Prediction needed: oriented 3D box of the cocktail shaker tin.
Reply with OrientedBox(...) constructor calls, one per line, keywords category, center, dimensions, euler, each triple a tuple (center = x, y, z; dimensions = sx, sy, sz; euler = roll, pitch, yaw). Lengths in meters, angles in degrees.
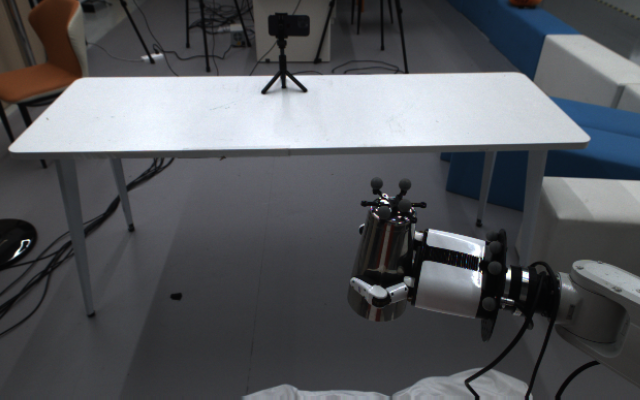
OrientedBox(category="cocktail shaker tin", center=(0.096, 0.081, 0.701), dimensions=(0.093, 0.170, 0.093), euler=(3, 34, -2))
